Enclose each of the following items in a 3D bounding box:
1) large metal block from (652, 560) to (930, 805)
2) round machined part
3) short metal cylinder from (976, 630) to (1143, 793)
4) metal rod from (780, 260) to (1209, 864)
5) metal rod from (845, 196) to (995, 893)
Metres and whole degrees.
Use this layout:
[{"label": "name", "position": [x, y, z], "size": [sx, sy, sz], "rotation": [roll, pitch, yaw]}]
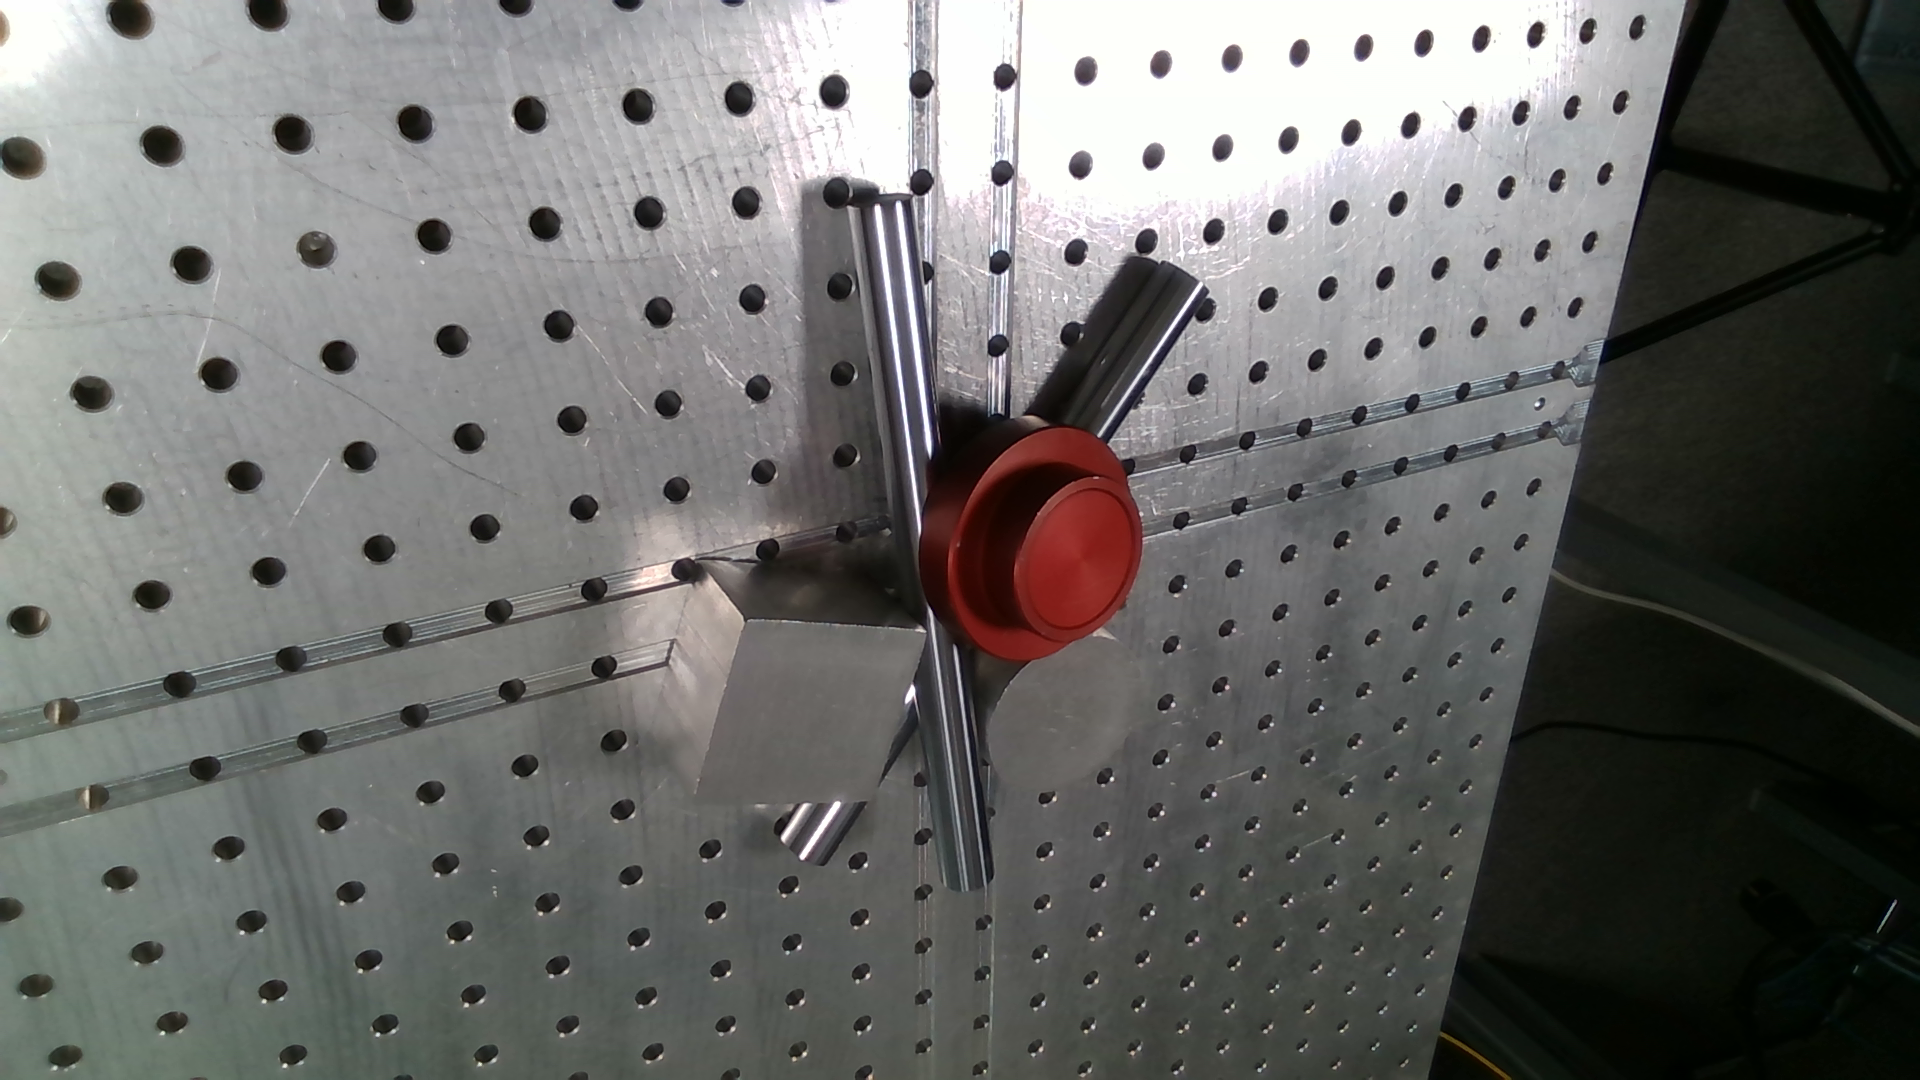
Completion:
[{"label": "large metal block", "position": [-0.069, 0.058, 0.554], "size": [0.080, 0.050, 0.080], "rotation": [6, 111, -34]}, {"label": "round machined part", "position": [0.034, 0.002, 0.551], "size": [0.098, 0.042, 0.098], "rotation": [-15, 116, -34]}, {"label": "short metal cylinder", "position": [0.036, 0.067, 0.625], "size": [0.080, 0.050, 0.080], "rotation": [-14, 122, -25]}, {"label": "metal rod", "position": [0.012, 0.013, 0.598], "size": [0.025, 0.025, 0.300], "rotation": [28, 98, -39]}, {"label": "metal rod", "position": [-0.013, 0.014, 0.559], "size": [0.025, 0.025, 0.301], "rotation": [-17, 116, -23]}]
